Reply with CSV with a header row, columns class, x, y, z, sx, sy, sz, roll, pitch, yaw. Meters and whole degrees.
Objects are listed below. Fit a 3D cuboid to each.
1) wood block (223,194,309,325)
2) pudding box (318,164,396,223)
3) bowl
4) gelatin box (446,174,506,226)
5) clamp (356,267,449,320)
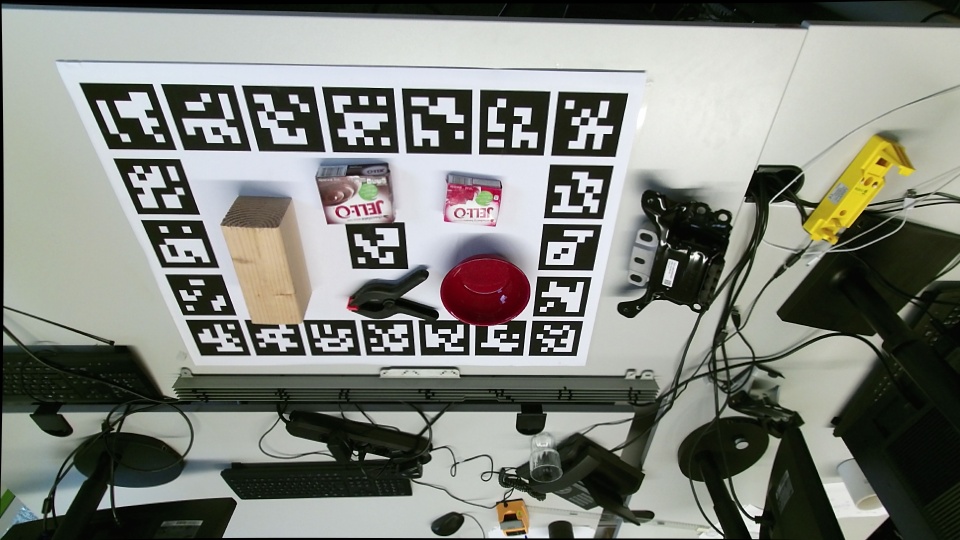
class,x,y,z,sx,sy,sz,roll,pitch,yaw
wood block,-0.356,-0.014,0.901,0.090,0.090,0.206,3,126,-2
pudding box,-0.194,-0.122,0.858,0.114,0.038,0.090,-1,123,-3
bowl,0.014,0.028,0.972,0.162,0.055,0.161,0,124,0
gelatin box,-0.007,-0.113,0.873,0.090,0.030,0.073,7,124,-6
clamp,-0.150,0.054,1.001,0.166,0.036,0.122,-7,127,6
